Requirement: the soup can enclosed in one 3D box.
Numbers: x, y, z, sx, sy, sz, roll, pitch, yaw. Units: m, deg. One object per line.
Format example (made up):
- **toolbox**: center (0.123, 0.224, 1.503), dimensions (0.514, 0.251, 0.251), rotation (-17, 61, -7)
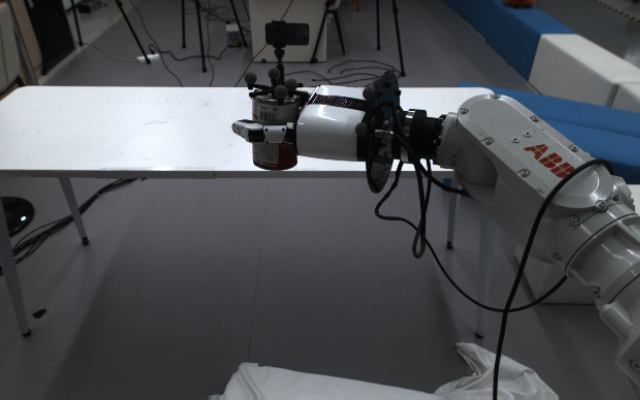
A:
- **soup can**: center (-0.063, -0.101, 0.686), dimensions (0.067, 0.101, 0.067), rotation (4, 30, -2)
